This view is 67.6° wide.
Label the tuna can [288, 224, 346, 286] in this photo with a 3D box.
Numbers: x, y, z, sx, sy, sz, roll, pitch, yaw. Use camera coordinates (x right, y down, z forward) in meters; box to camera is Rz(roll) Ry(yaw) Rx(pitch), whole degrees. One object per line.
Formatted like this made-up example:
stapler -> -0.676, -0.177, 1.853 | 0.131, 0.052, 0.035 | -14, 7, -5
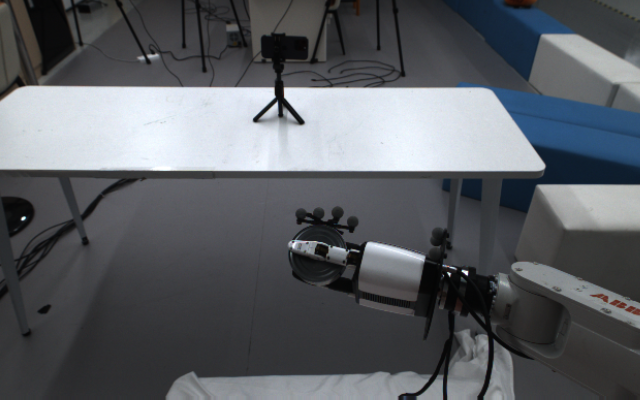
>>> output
tuna can -> -0.001, 0.080, 0.708 | 0.085, 0.034, 0.085 | -3, 69, 7
